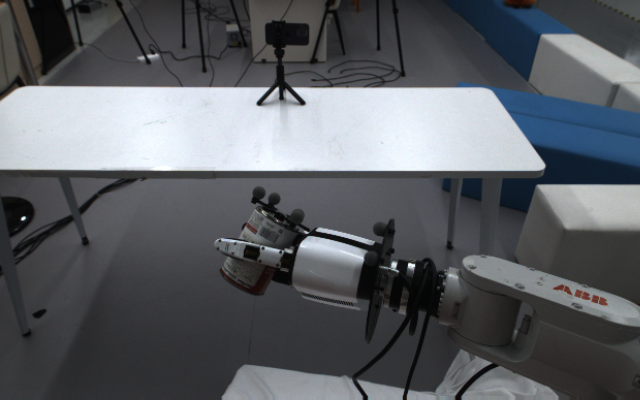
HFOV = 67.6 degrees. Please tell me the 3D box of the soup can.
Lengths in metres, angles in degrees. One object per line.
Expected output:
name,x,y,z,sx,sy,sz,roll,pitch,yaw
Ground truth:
soup can,-0.079,0.068,0.646,0.067,0.101,0.067,30,2,-1
